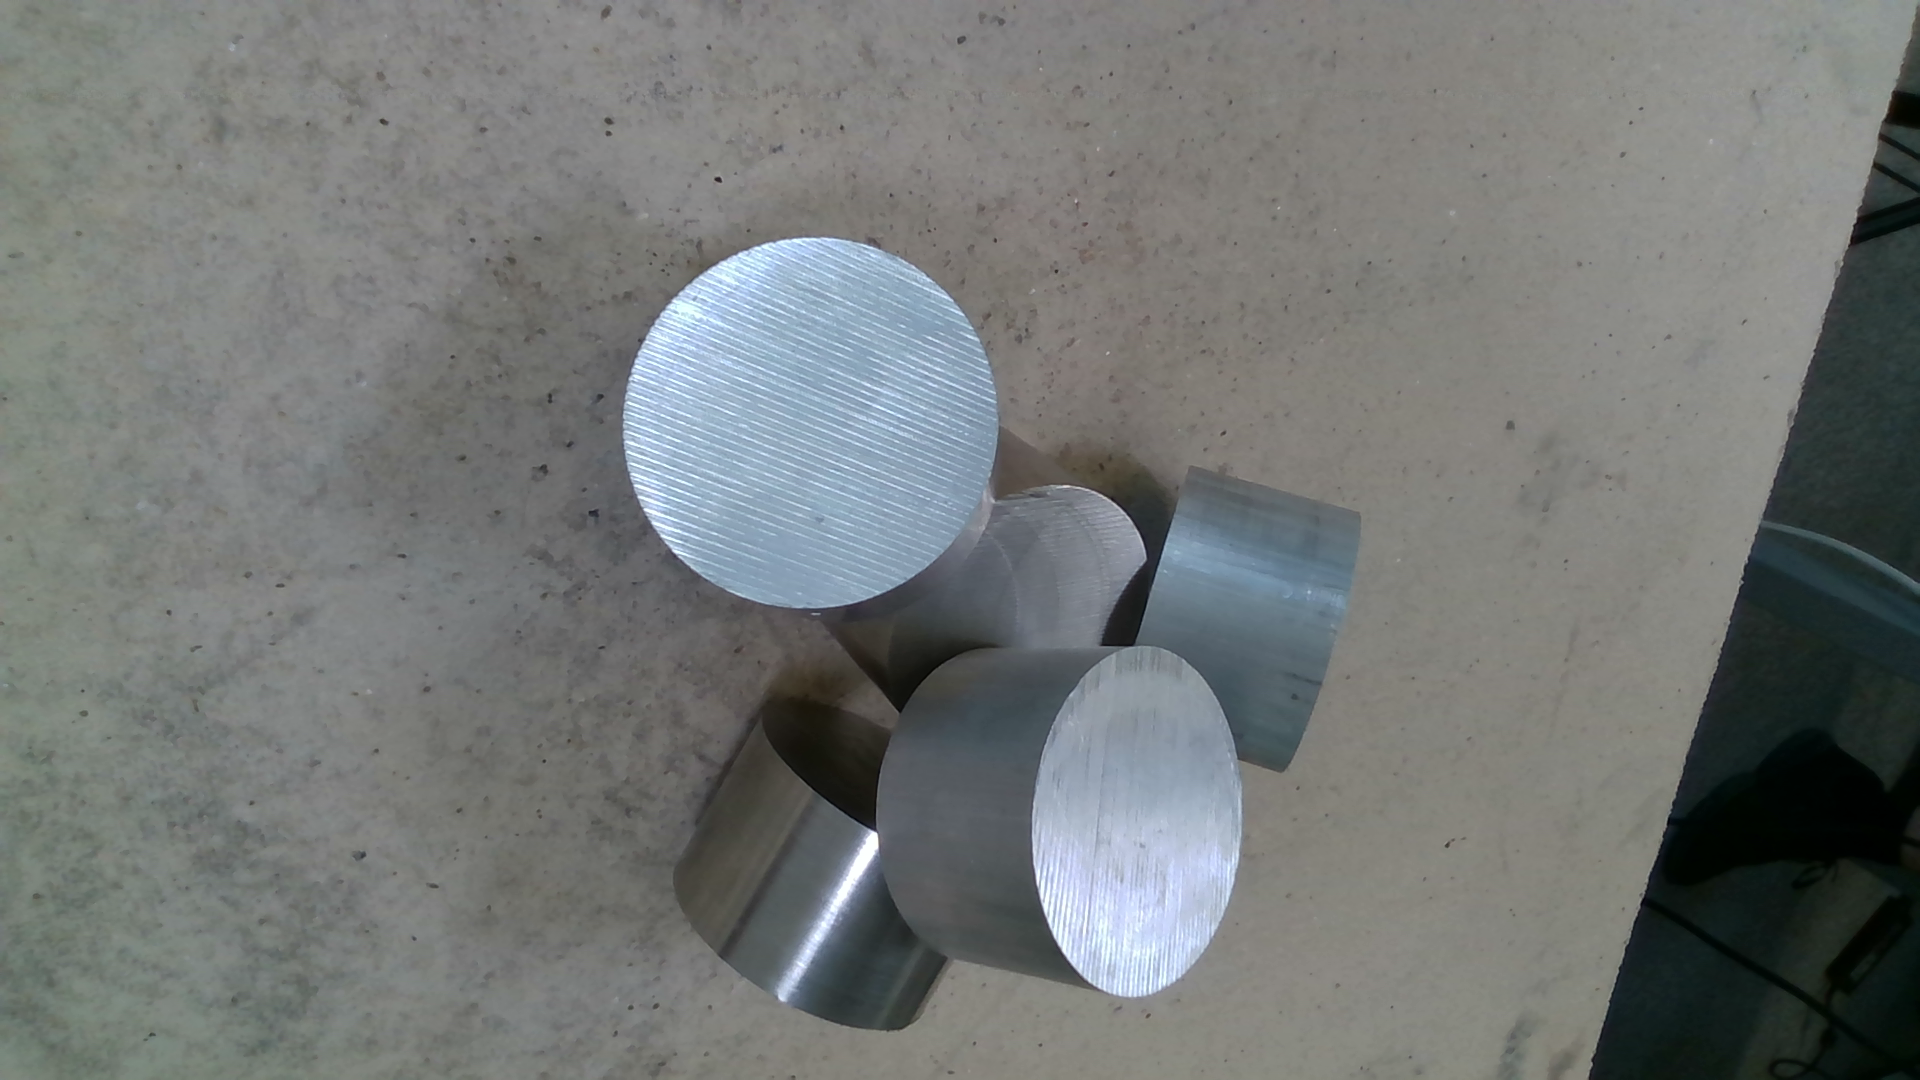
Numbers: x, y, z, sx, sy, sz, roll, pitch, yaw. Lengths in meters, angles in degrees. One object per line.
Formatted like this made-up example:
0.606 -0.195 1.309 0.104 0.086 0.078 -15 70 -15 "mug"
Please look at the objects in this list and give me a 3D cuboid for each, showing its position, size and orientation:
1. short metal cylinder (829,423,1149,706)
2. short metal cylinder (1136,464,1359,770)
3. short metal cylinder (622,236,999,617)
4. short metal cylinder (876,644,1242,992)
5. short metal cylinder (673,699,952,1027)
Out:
0.005 0.012 0.383 0.080 0.050 0.080 -15 122 -25 "short metal cylinder"
0.081 0.023 0.409 0.050 0.080 0.080 16 112 9 "short metal cylinder"
-0.031 -0.023 0.316 0.080 0.050 0.080 0 84 1 "short metal cylinder"
0.026 0.066 0.339 0.080 0.050 0.080 5 83 -45 "short metal cylinder"
-0.032 0.088 0.382 0.080 0.080 0.050 23 101 -38 "short metal cylinder"
